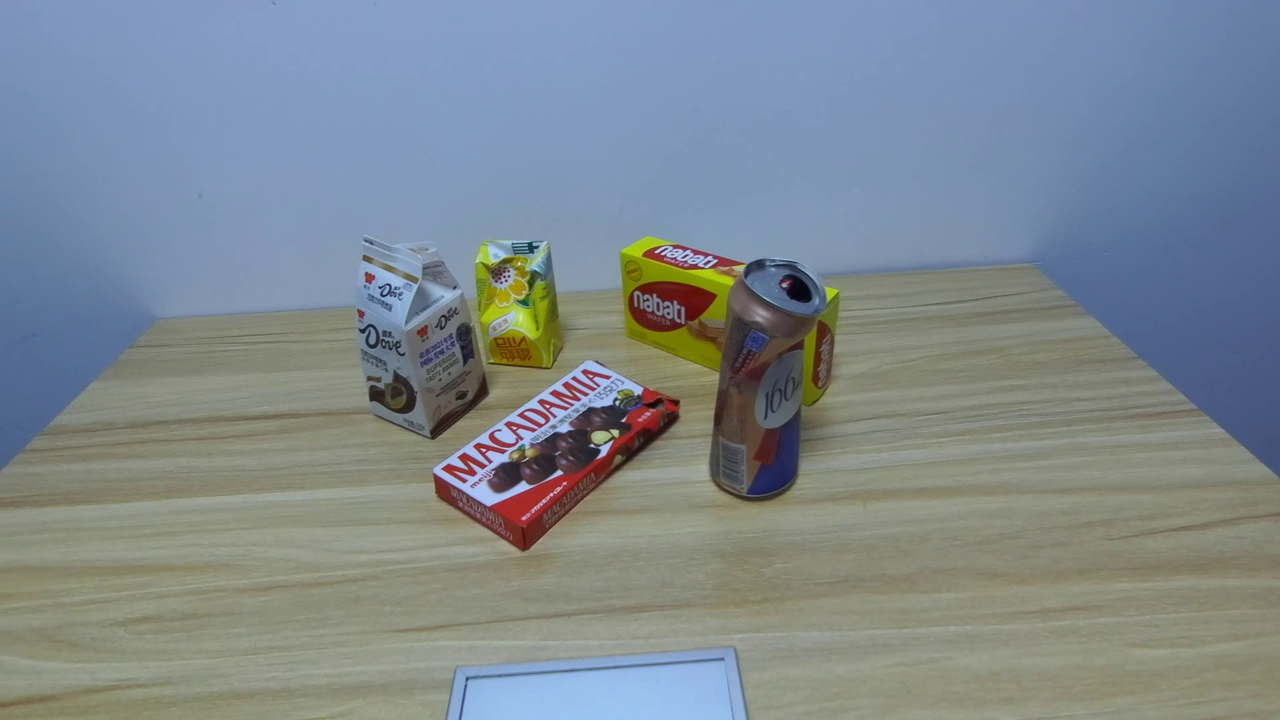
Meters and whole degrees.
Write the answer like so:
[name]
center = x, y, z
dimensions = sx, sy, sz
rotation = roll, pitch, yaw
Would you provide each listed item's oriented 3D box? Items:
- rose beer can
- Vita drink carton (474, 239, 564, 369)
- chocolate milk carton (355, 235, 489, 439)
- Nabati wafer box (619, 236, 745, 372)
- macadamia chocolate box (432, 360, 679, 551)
[rose beer can]
center = 0.082, 0.016, 0.478
dimensions = 0.070, 0.168, 0.069
rotation = -5, 34, -8
[Vita drink carton]
center = -0.113, -0.050, 0.648
dimensions = 0.071, 0.110, 0.046
rotation = 3, 31, 13
[chocolate milk carton]
center = -0.186, -0.026, 0.575
dimensions = 0.084, 0.155, 0.073
rotation = 18, 40, 28
[Nabati wafer box]
center = 0.073, -0.038, 0.624
dimensions = 0.202, 0.093, 0.042
rotation = 22, 40, 32
[macadamia chocolate box]
center = -0.056, 0.063, 0.550
dimensions = 0.102, 0.027, 0.187
rotation = 23, 43, 30
